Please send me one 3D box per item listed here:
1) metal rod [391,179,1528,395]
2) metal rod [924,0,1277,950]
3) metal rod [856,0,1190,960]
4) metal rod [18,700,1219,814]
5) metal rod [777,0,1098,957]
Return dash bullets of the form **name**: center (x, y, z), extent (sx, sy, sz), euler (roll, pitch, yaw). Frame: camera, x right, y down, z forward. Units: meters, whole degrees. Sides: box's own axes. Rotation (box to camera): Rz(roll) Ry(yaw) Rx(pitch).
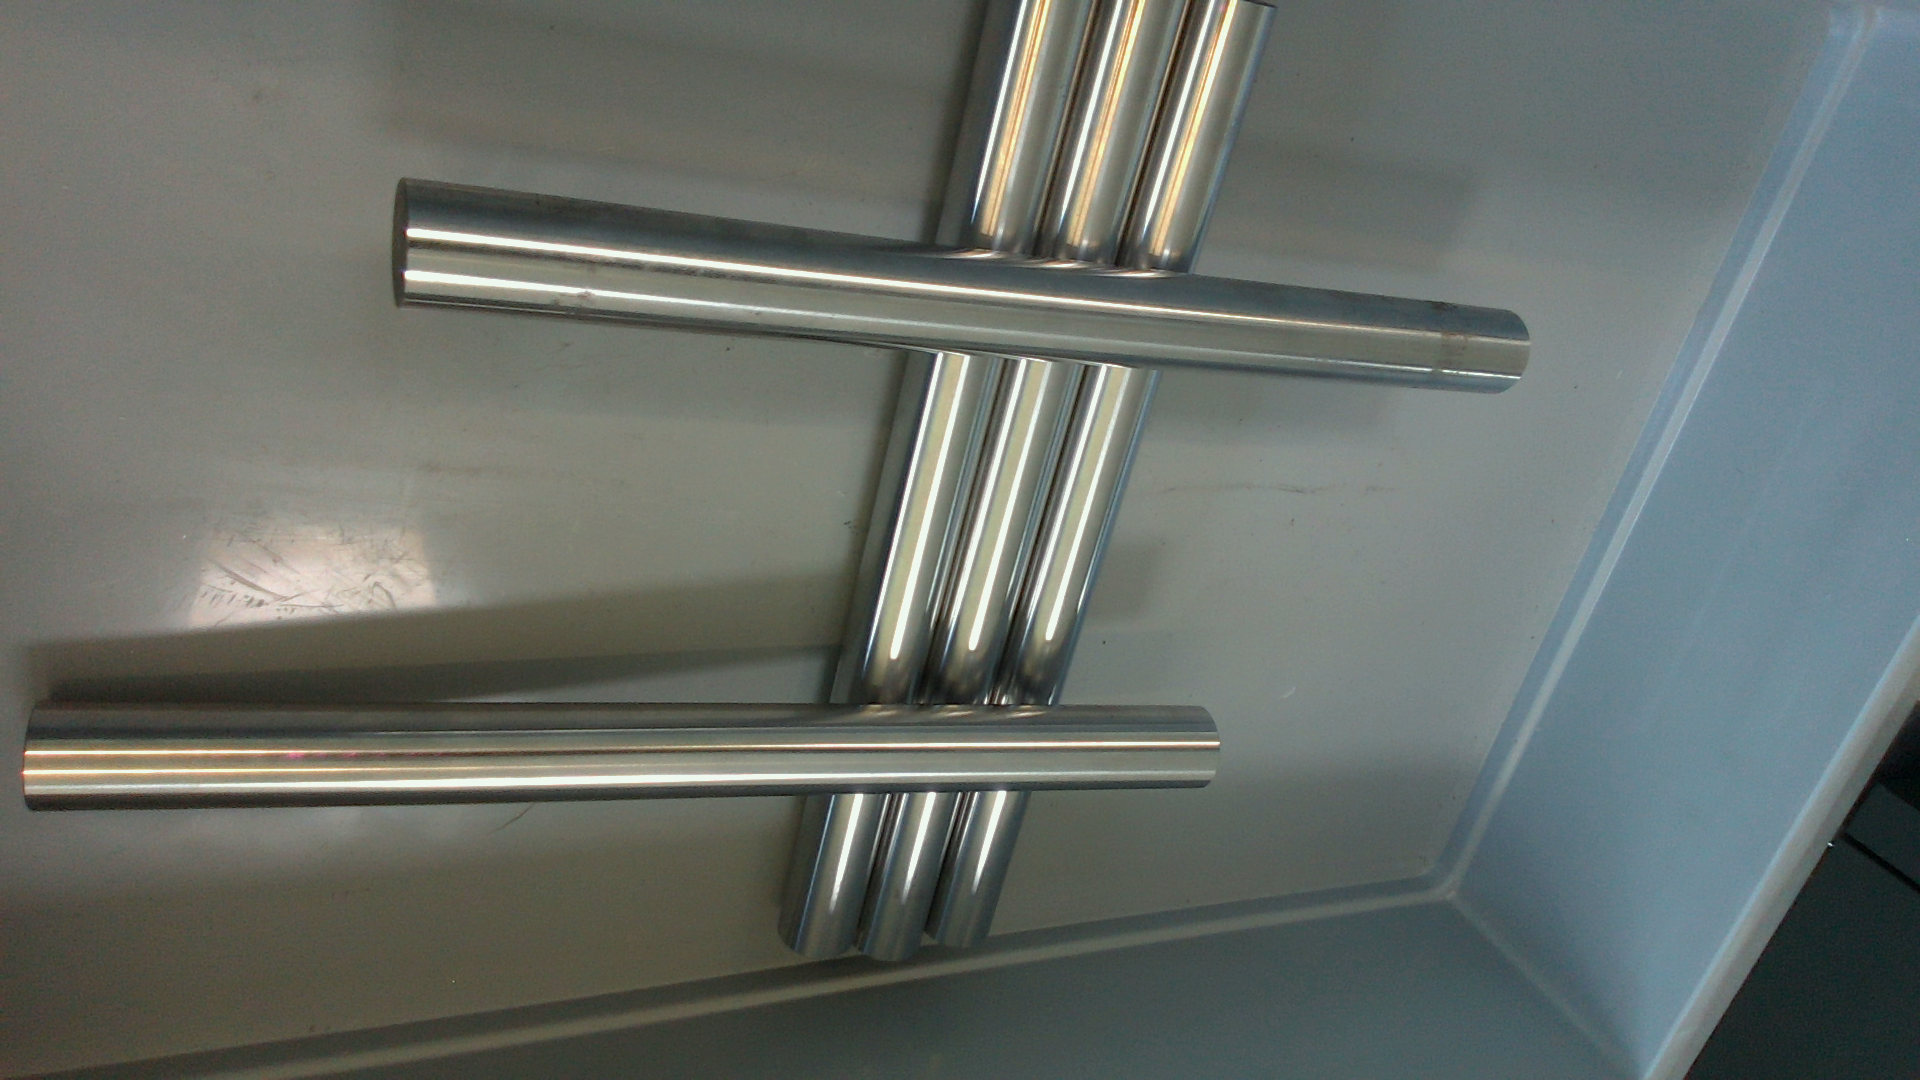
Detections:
- **metal rod**: center (0.025, -0.056, 0.335), extent (0.301, 0.025, 0.025), euler (0, 118, -28)
- **metal rod**: center (0.032, -0.002, 0.403), extent (0.025, 0.025, 0.300), euler (1, 118, -29)
- **metal rod**: center (0.009, -0.002, 0.392), extent (0.025, 0.025, 0.300), euler (1, 118, -29)
- **metal rod**: center (-0.067, 0.056, 0.363), extent (0.301, 0.025, 0.025), euler (3, 117, -22)
- **metal rod**: center (-0.012, -0.007, 0.378), extent (0.025, 0.025, 0.300), euler (0, 118, -28)
